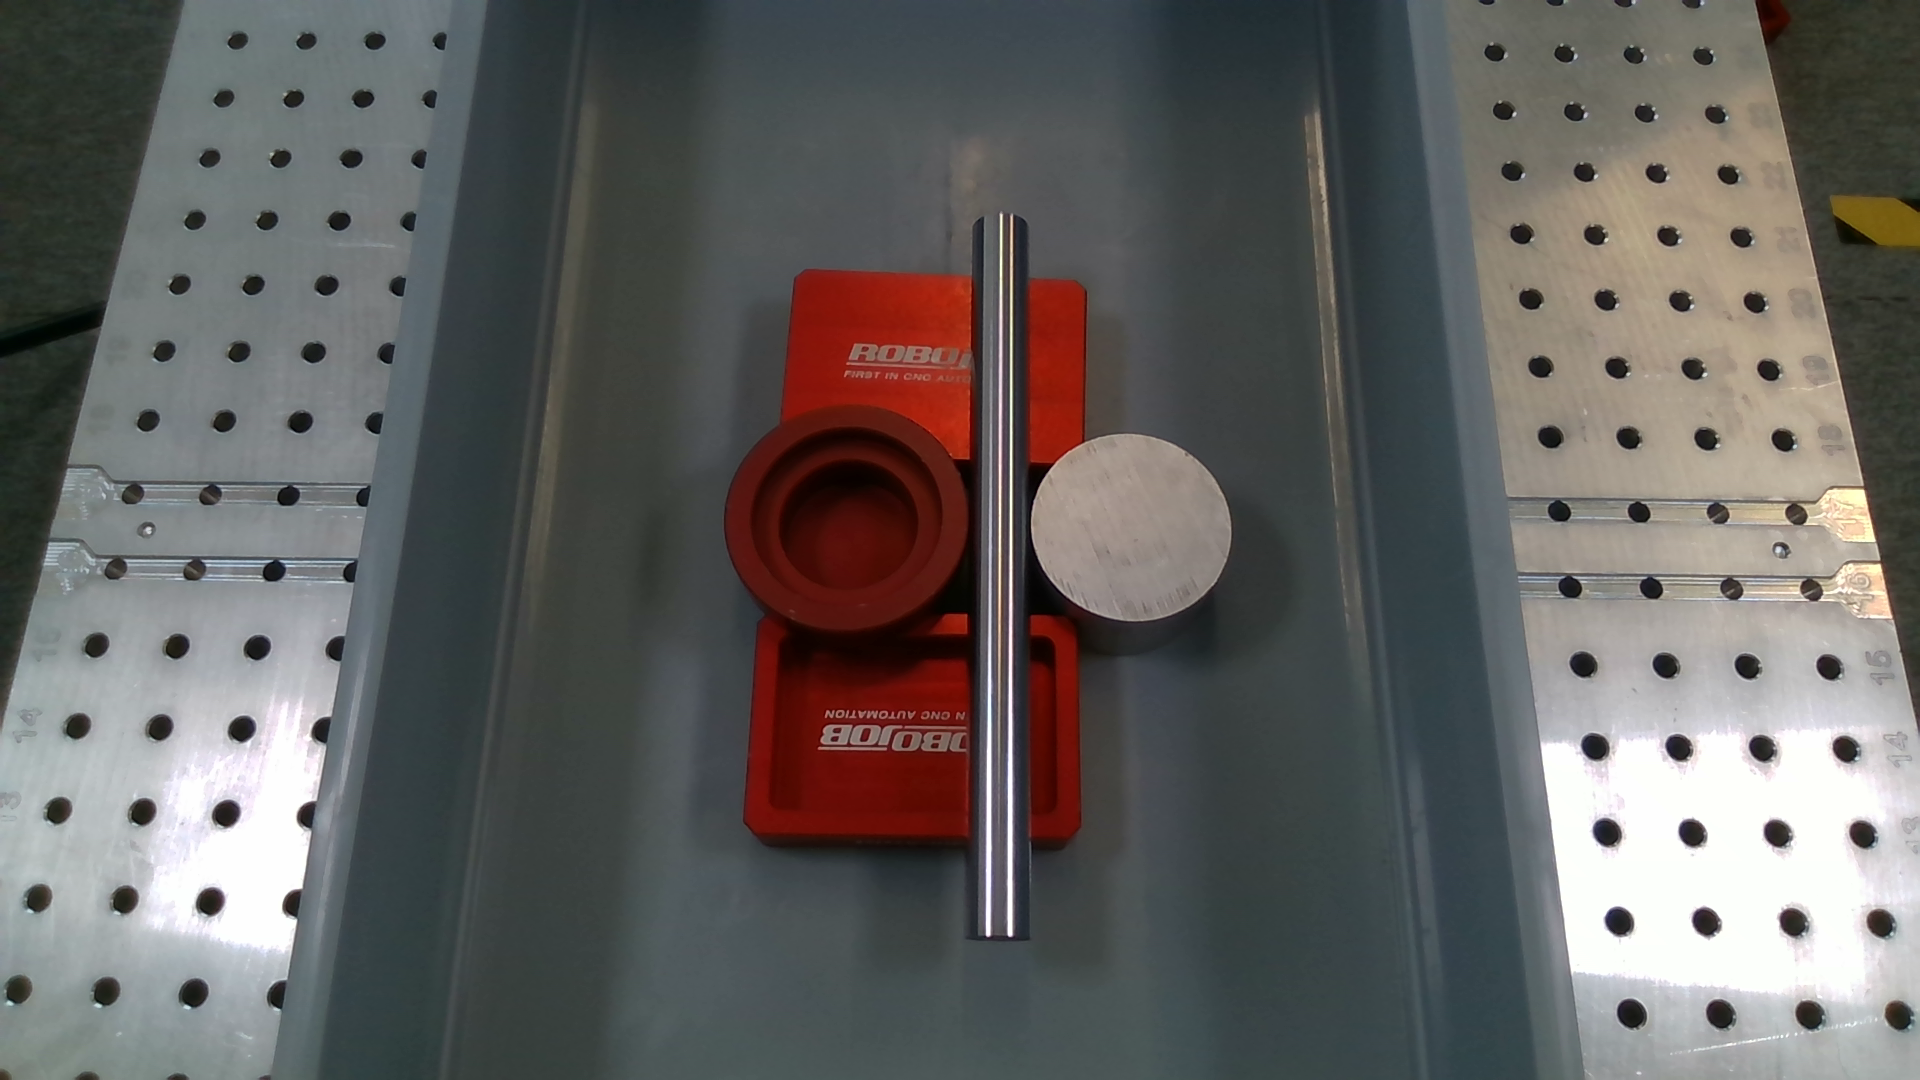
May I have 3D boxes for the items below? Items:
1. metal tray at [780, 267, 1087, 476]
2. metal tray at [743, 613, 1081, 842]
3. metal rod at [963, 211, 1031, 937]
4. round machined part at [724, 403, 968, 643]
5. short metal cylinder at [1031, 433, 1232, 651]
[{"bbox_3d":[-0.011,-0.072,0.609,0.130,0.030,0.090,2,70,1],"label":"metal tray"},{"bbox_3d":[-0.018,0.076,0.557,0.130,0.030,0.090,1,70,0],"label":"metal tray"},{"bbox_3d":[0.015,0.004,0.553,0.025,0.025,0.299,1,70,0],"label":"metal rod"},{"bbox_3d":[-0.046,-0.004,0.569,0.098,0.042,0.098,0,70,0],"label":"round machined part"},{"bbox_3d":[0.068,0.002,0.573,0.080,0.050,0.080,0,70,0],"label":"short metal cylinder"}]
